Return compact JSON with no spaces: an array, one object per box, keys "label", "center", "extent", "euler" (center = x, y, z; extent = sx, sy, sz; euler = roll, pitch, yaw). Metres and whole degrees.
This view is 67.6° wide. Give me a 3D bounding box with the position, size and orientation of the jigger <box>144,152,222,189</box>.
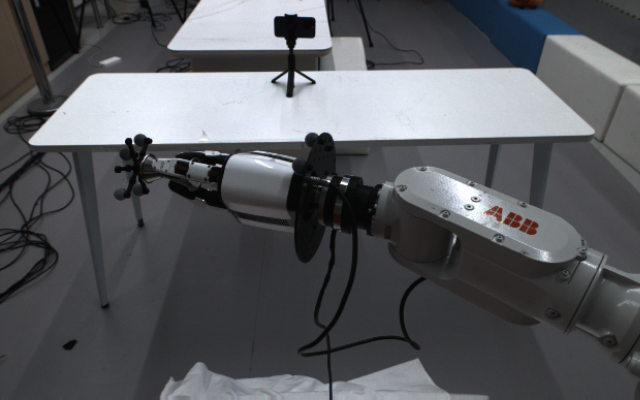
[{"label":"jigger","center":[-0.189,-0.040,0.634],"extent":[0.071,0.043,0.043],"euler":[7,35,13]}]
